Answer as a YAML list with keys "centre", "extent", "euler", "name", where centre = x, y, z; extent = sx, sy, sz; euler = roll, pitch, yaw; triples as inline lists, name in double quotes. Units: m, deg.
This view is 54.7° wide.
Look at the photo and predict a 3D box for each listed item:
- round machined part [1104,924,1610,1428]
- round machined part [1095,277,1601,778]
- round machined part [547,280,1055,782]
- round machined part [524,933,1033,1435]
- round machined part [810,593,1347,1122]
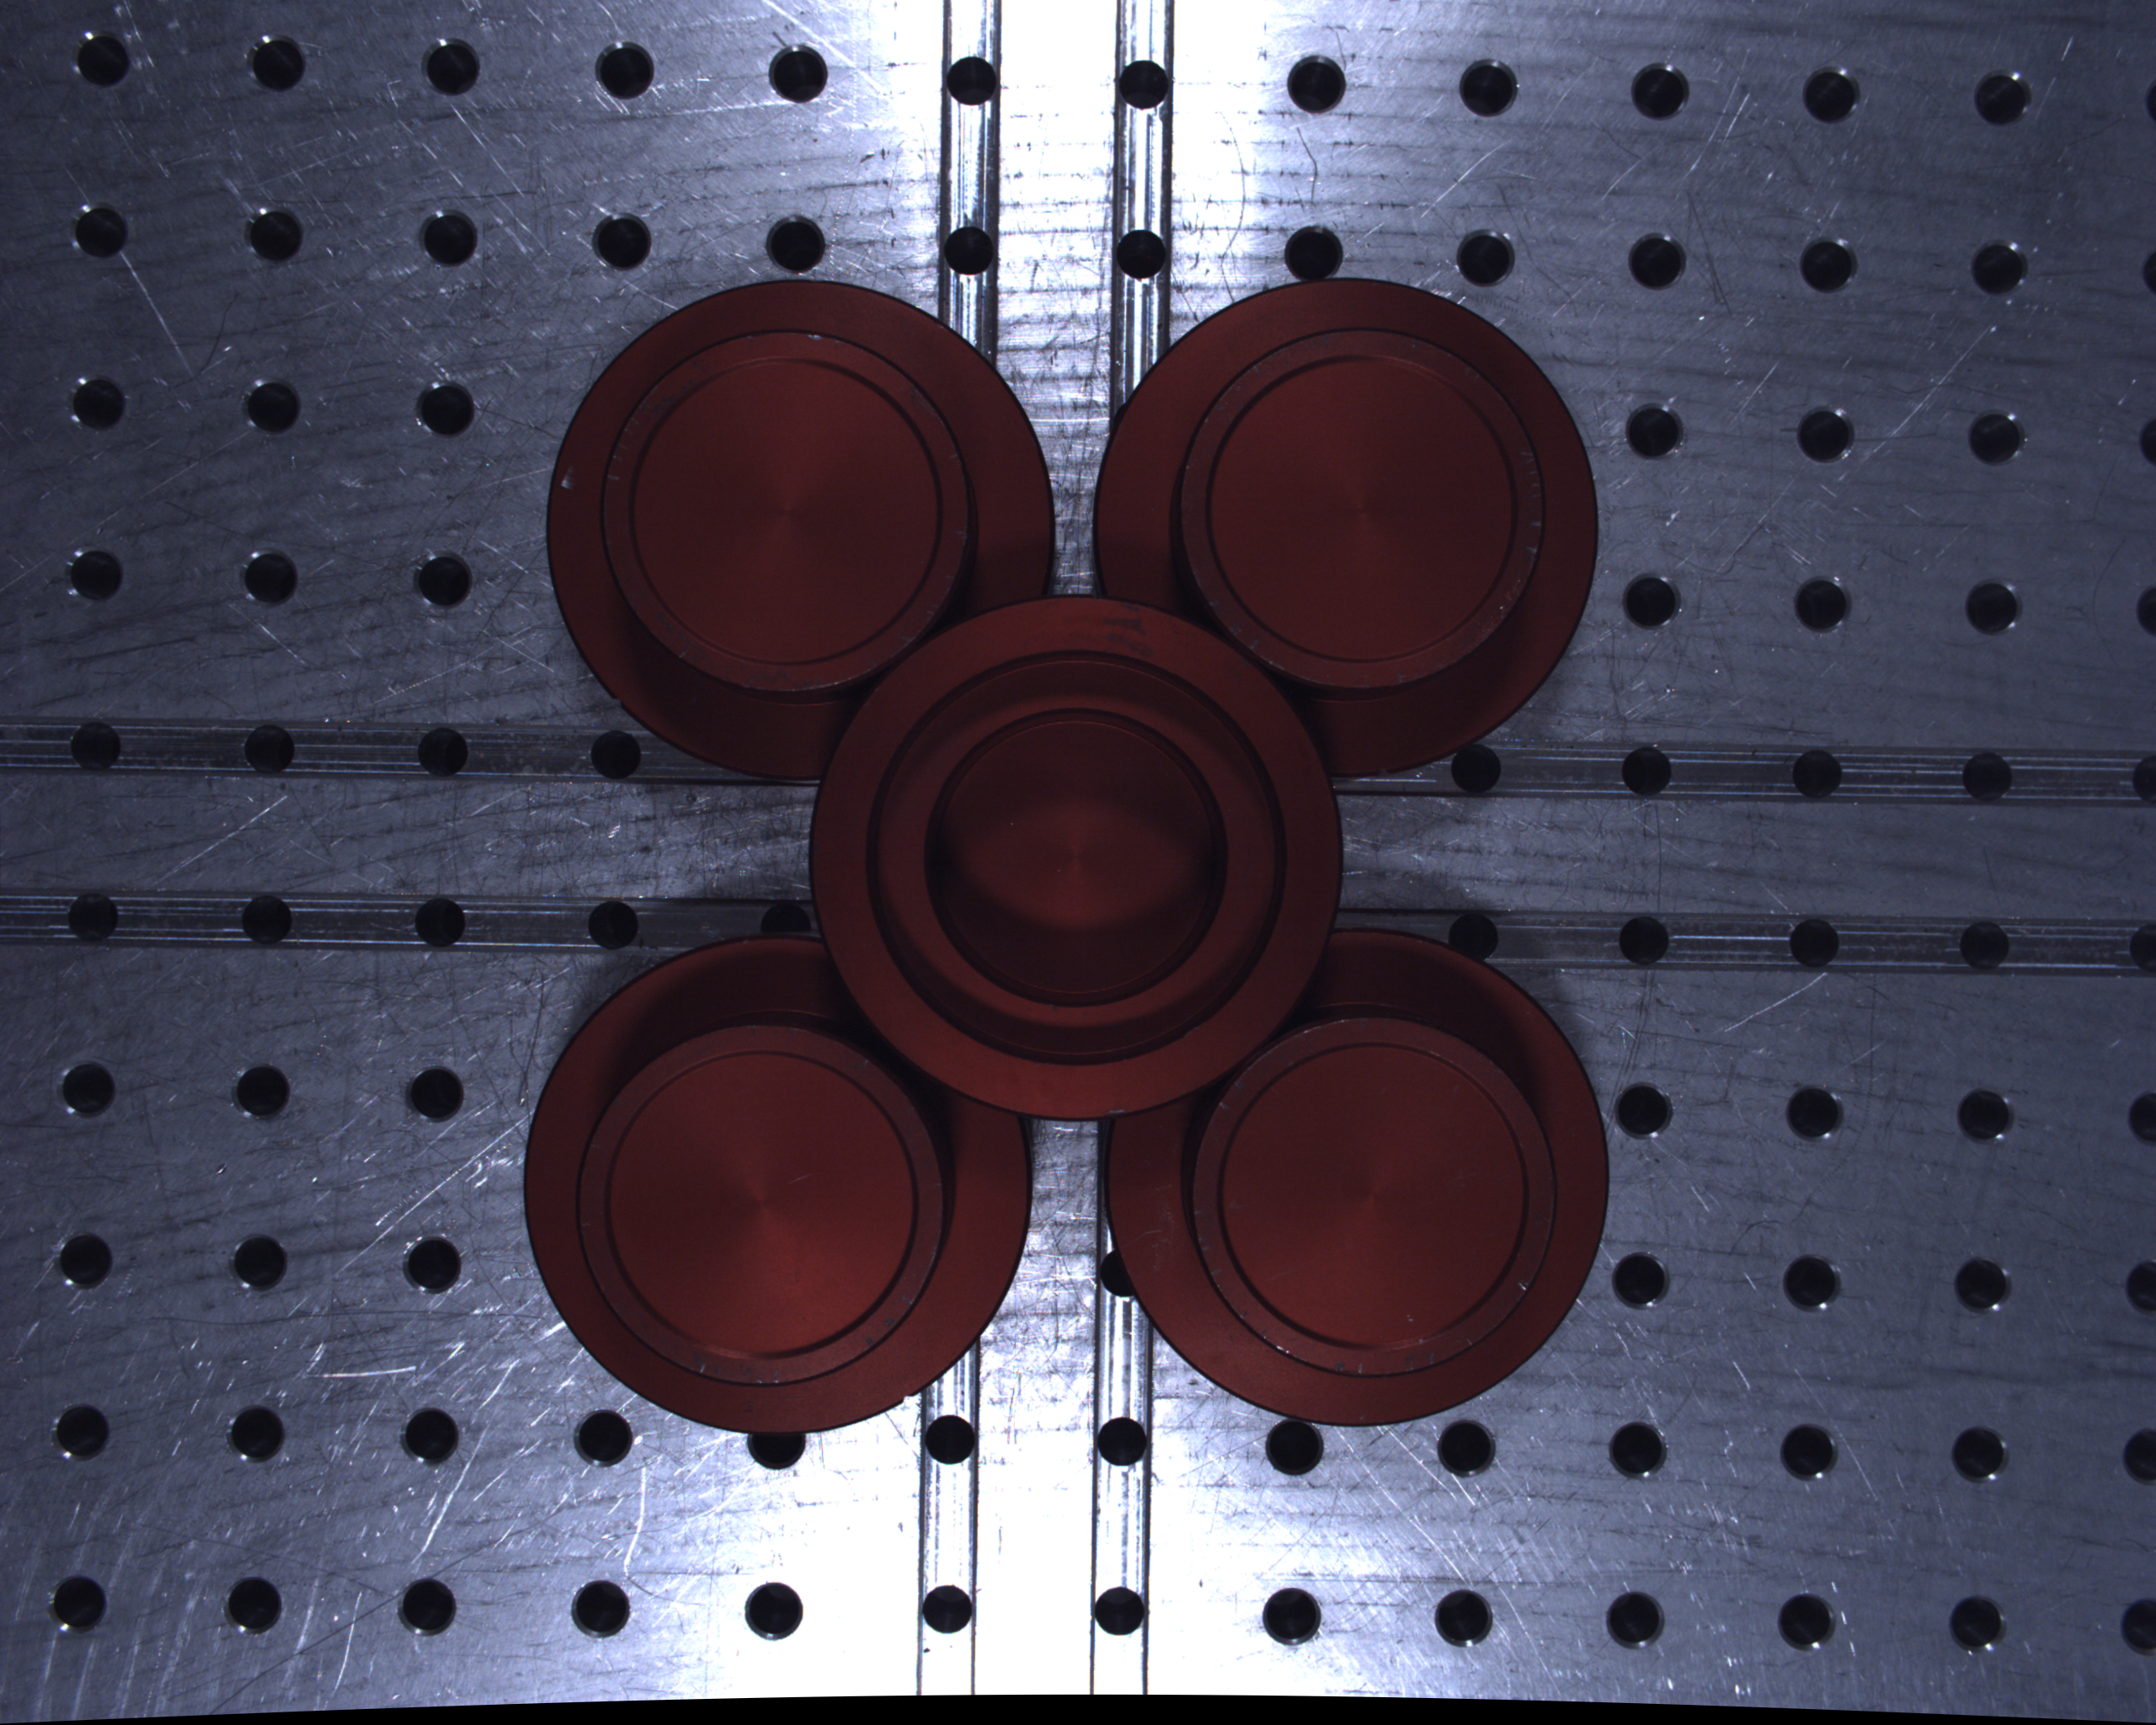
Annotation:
- centre: [0.055, 0.061, 0.405]
  extent: [0.099, 0.042, 0.097]
  euler: [0, 90, -1]
  name: "round machined part"
- centre: [0.053, -0.065, 0.405]
  extent: [0.099, 0.042, 0.097]
  euler: [0, 90, -1]
  name: "round machined part"
- centre: [-0.054, -0.064, 0.403]
  extent: [0.099, 0.042, 0.097]
  euler: [0, 90, -1]
  name: "round machined part"
- centre: [-0.058, 0.063, 0.405]
  extent: [0.099, 0.042, 0.097]
  euler: [0, 90, -1]
  name: "round machined part"
- centre: [0.000, -0.001, 0.403]
  extent: [0.099, 0.042, 0.097]
  euler: [0, 90, -1]
  name: "round machined part"
